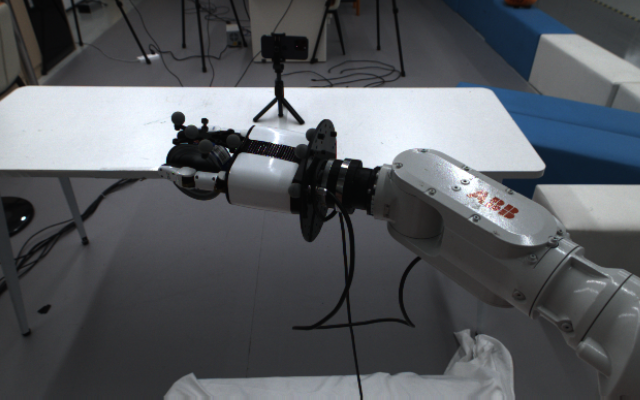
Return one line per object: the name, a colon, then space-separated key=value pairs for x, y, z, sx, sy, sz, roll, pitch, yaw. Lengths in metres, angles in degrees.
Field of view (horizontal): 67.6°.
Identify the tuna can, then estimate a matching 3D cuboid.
tuna can: x=-0.159 y=-0.044 z=0.652 sx=0.085 sy=0.085 sz=0.034 roll=12 pitch=33 yaw=14
